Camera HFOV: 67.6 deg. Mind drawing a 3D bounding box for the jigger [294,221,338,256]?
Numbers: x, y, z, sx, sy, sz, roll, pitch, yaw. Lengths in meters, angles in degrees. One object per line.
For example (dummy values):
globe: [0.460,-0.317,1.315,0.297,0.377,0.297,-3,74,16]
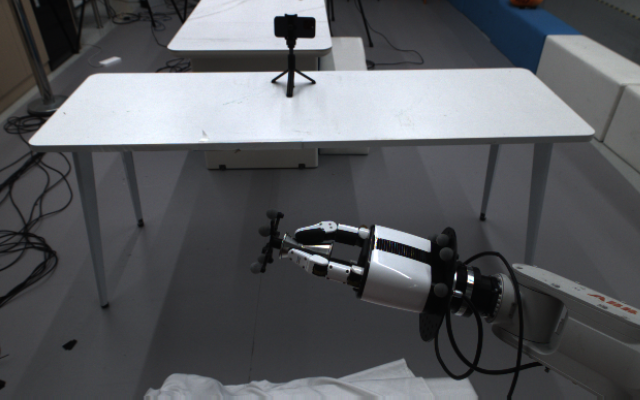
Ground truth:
jigger: [-0.013,0.069,0.675,0.071,0.043,0.043,14,36,5]
